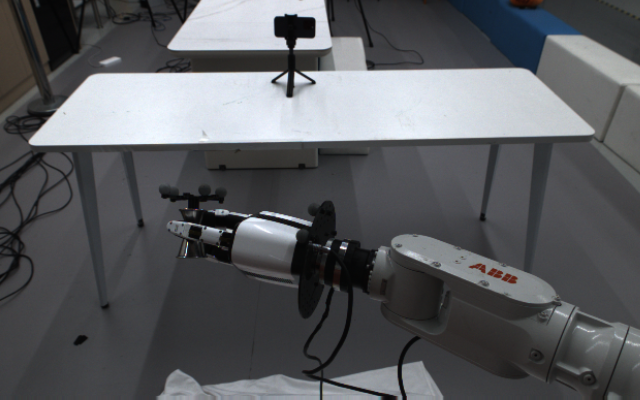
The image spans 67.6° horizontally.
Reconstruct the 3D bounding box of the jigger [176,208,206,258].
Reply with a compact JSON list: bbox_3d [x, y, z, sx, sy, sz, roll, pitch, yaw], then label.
[{"bbox_3d":[-0.181,0.048,0.684,0.043,0.071,0.043,1,-4,0],"label":"jigger"}]
